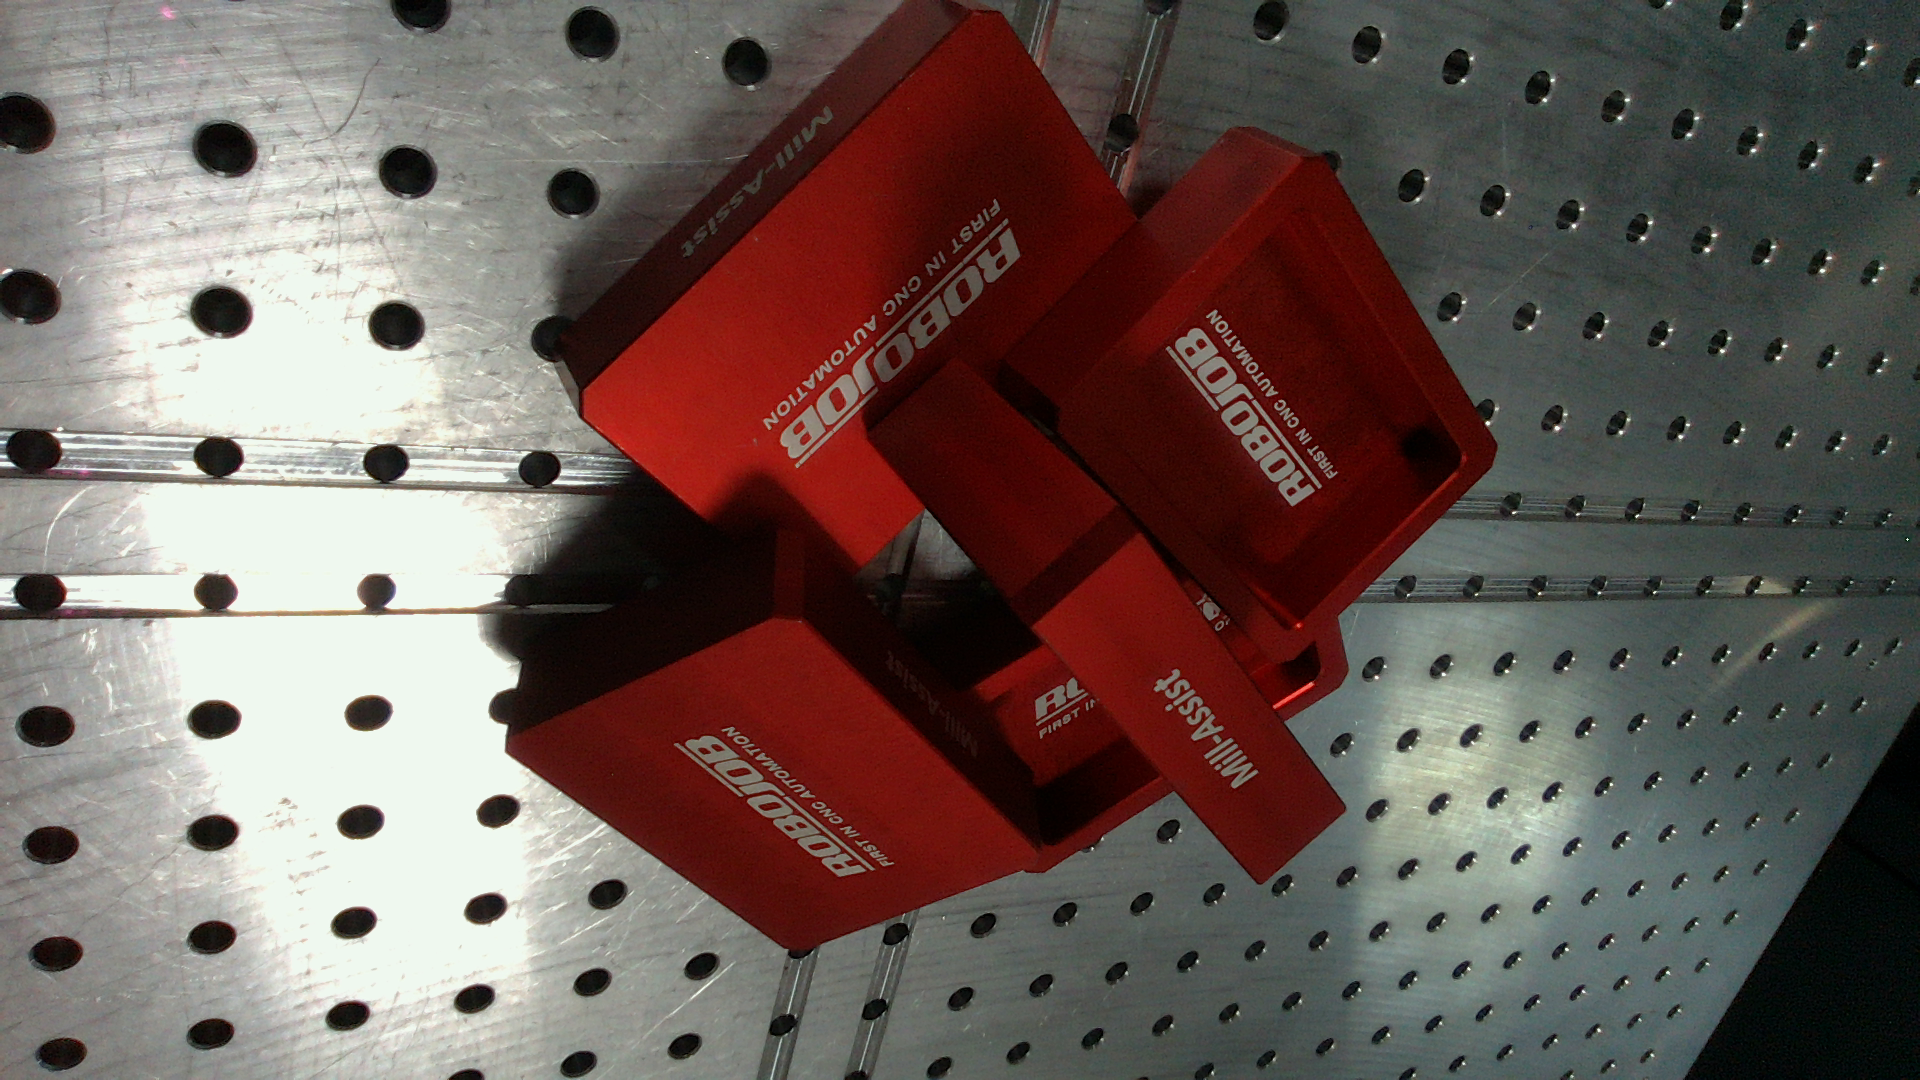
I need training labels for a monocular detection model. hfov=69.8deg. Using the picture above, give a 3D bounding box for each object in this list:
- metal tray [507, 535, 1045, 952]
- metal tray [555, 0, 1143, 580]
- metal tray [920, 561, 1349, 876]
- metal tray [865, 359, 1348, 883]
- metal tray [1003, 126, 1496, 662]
[{"bbox_3d":[-0.045,0.063,0.379,0.090,0.030,0.130,-24,132,19],"label":"metal tray"},{"bbox_3d":[-0.022,-0.057,0.341,0.130,0.030,0.090,-44,129,2],"label":"metal tray"},{"bbox_3d":[0.059,0.041,0.445,0.130,0.030,0.090,-30,128,-9],"label":"metal tray"},{"bbox_3d":[0.038,0.022,0.344,0.030,0.090,0.130,-42,129,1],"label":"metal tray"},{"bbox_3d":[0.083,-0.034,0.374,0.090,0.030,0.130,-46,129,3],"label":"metal tray"}]
